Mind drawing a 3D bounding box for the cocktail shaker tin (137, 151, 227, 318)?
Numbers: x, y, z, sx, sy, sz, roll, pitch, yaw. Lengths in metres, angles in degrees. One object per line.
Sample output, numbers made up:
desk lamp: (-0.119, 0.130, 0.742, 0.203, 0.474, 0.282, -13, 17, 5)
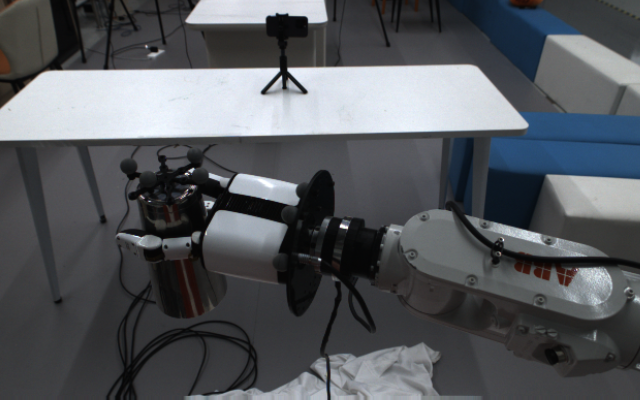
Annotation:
cocktail shaker tin: (-0.162, 0.049, 0.575, 0.093, 0.170, 0.093, 1, 39, 0)
